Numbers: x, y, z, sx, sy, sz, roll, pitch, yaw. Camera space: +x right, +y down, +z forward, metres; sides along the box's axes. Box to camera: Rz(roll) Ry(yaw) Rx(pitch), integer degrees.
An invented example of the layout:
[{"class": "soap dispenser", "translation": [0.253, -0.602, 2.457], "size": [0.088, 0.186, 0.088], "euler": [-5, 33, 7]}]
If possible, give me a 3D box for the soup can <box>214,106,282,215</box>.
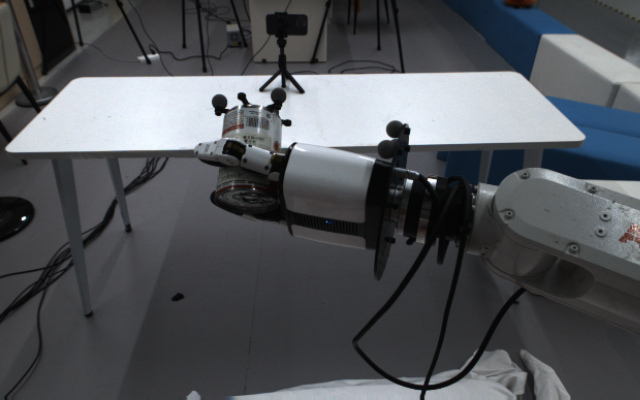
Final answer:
[{"class": "soup can", "translation": [-0.075, -0.043, 0.526], "size": [0.067, 0.067, 0.101], "euler": [1, 68, -1]}]
